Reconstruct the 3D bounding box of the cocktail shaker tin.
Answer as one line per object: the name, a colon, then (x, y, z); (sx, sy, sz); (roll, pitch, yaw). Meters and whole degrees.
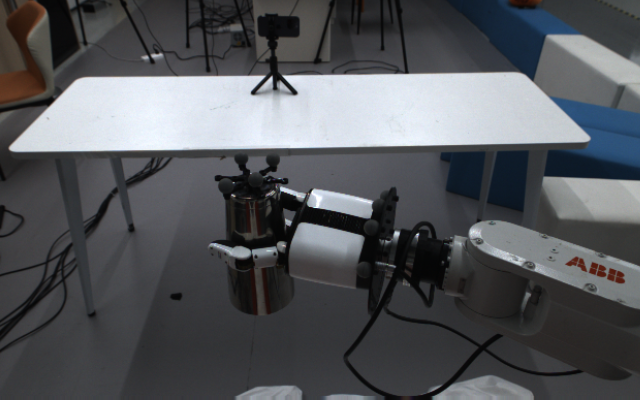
cocktail shaker tin: (-0.079, 0.054, 0.626); (0.093, 0.170, 0.093); (0, 33, 0)
